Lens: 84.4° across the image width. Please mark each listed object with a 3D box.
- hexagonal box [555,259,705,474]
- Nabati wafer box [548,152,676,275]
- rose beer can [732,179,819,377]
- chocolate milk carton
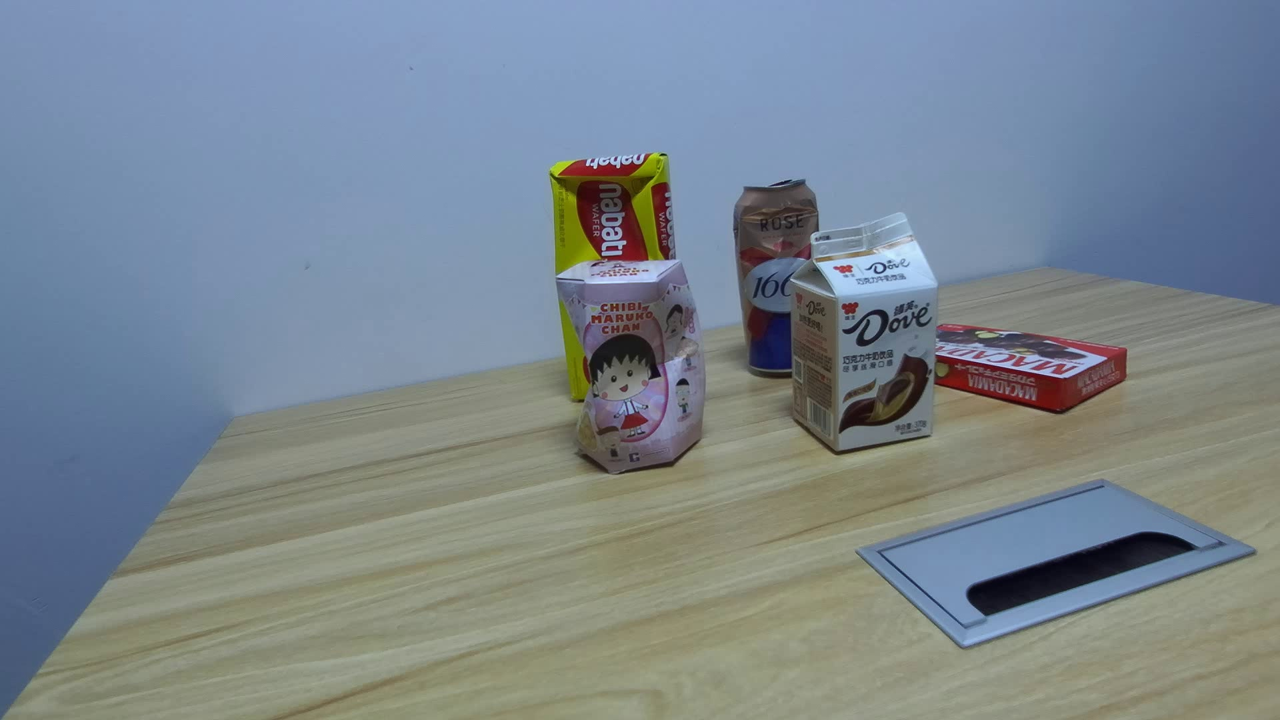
[{"bbox_3d":[-0.011,0.002,0.493,0.089,0.134,0.093,-19,22,-36],"label":"hexagonal box"},{"bbox_3d":[-0.019,-0.066,0.597,0.096,0.203,0.042,1,18,14],"label":"Nabati wafer box"},{"bbox_3d":[0.125,-0.072,0.624,0.075,0.167,0.065,-3,15,20],"label":"rose beer can"},{"bbox_3d":[0.152,-0.022,0.486,0.075,0.148,0.074,-8,18,-11],"label":"chocolate milk carton"}]
